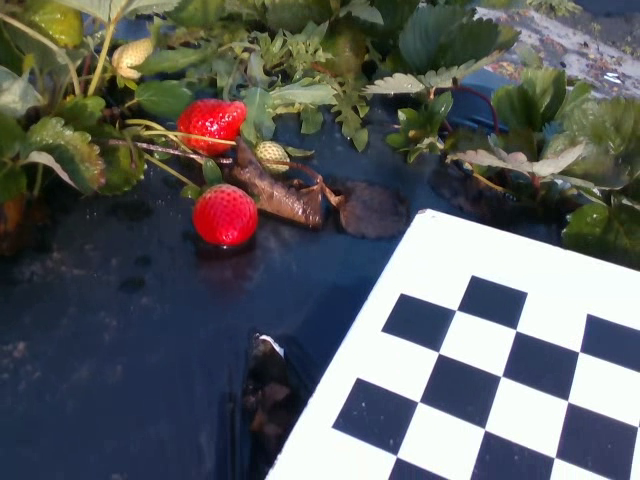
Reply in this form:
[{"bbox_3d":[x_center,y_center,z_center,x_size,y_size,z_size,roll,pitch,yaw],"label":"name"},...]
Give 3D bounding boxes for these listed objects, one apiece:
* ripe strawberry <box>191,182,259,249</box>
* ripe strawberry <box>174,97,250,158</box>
[{"bbox_3d":[-0.046,-0.010,0.292,0.035,0.030,0.043,-6,39,-11],"label":"ripe strawberry"},{"bbox_3d":[-0.062,-0.073,0.356,0.048,0.032,0.040,-27,29,32],"label":"ripe strawberry"}]
